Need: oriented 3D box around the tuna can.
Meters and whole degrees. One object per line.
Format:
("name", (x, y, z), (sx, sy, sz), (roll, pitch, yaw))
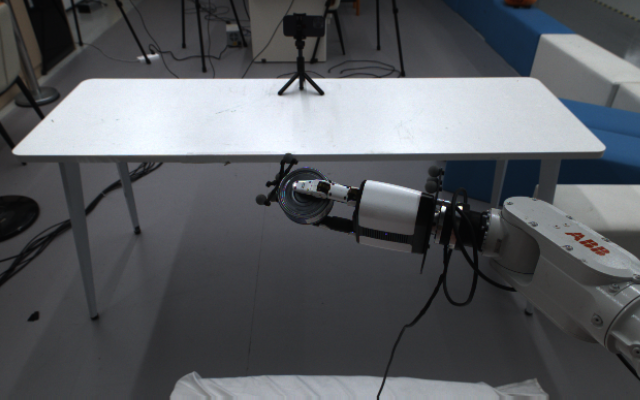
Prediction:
("tuna can", (-0.019, -0.004, 0.746), (0.085, 0.034, 0.085), (-2, 72, 6))
